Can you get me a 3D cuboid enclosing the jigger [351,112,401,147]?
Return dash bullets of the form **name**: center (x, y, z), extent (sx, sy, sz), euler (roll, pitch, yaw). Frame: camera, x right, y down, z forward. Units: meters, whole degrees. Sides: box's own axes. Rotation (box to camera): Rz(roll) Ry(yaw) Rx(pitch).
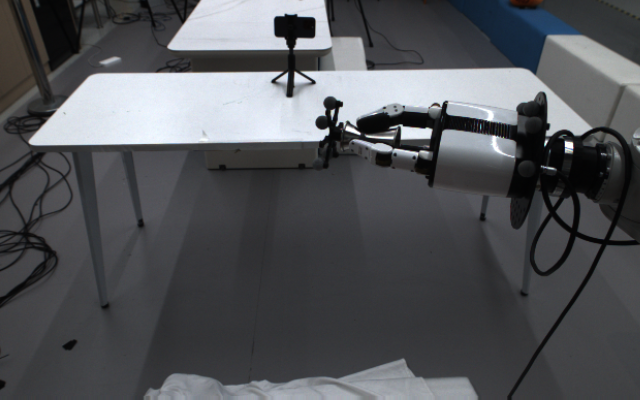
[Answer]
- **jigger**: center (0.070, -0.077, 0.609), extent (0.071, 0.043, 0.043), euler (10, 36, 15)
